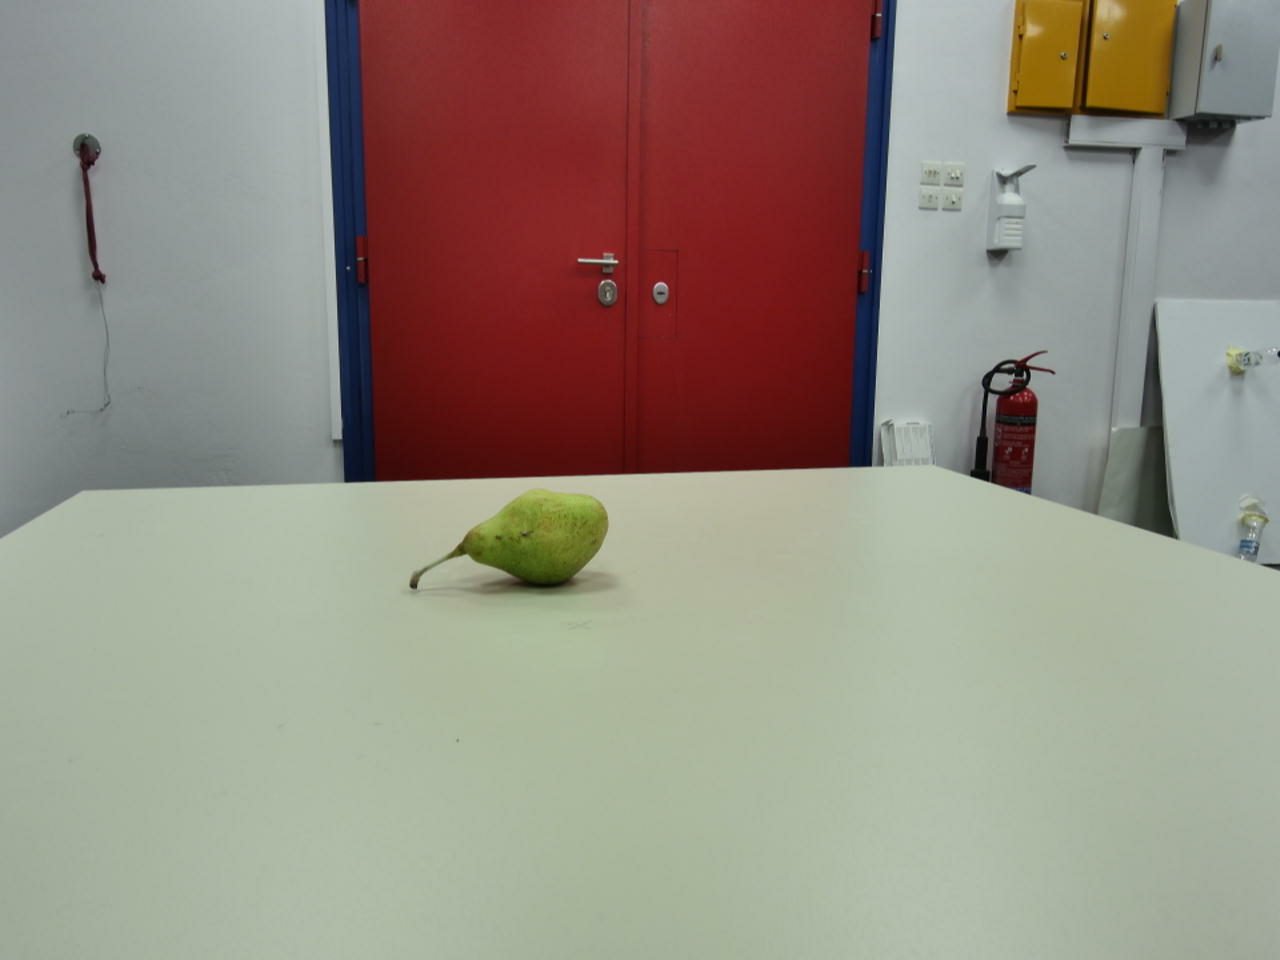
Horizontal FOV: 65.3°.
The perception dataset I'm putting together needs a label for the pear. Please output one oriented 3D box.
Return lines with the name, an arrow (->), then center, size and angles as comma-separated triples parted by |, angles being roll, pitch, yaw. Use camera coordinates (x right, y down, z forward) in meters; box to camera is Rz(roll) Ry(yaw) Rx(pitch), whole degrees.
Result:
pear -> -0.074, 0.033, 0.588 | 0.111, 0.056, 0.056 | 0, 8, 3
